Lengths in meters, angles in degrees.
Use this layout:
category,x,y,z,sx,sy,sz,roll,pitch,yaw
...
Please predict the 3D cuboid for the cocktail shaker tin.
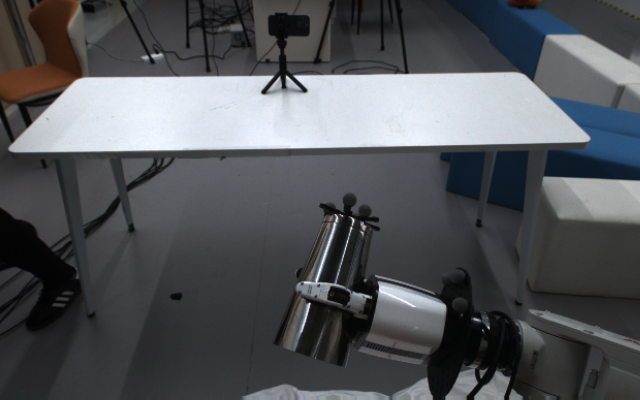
category,x,y,z,sx,sy,sz,roll,pitch,yaw
cocktail shaker tin,0.011,0.108,0.602,0.093,0.093,0.170,14,74,17
